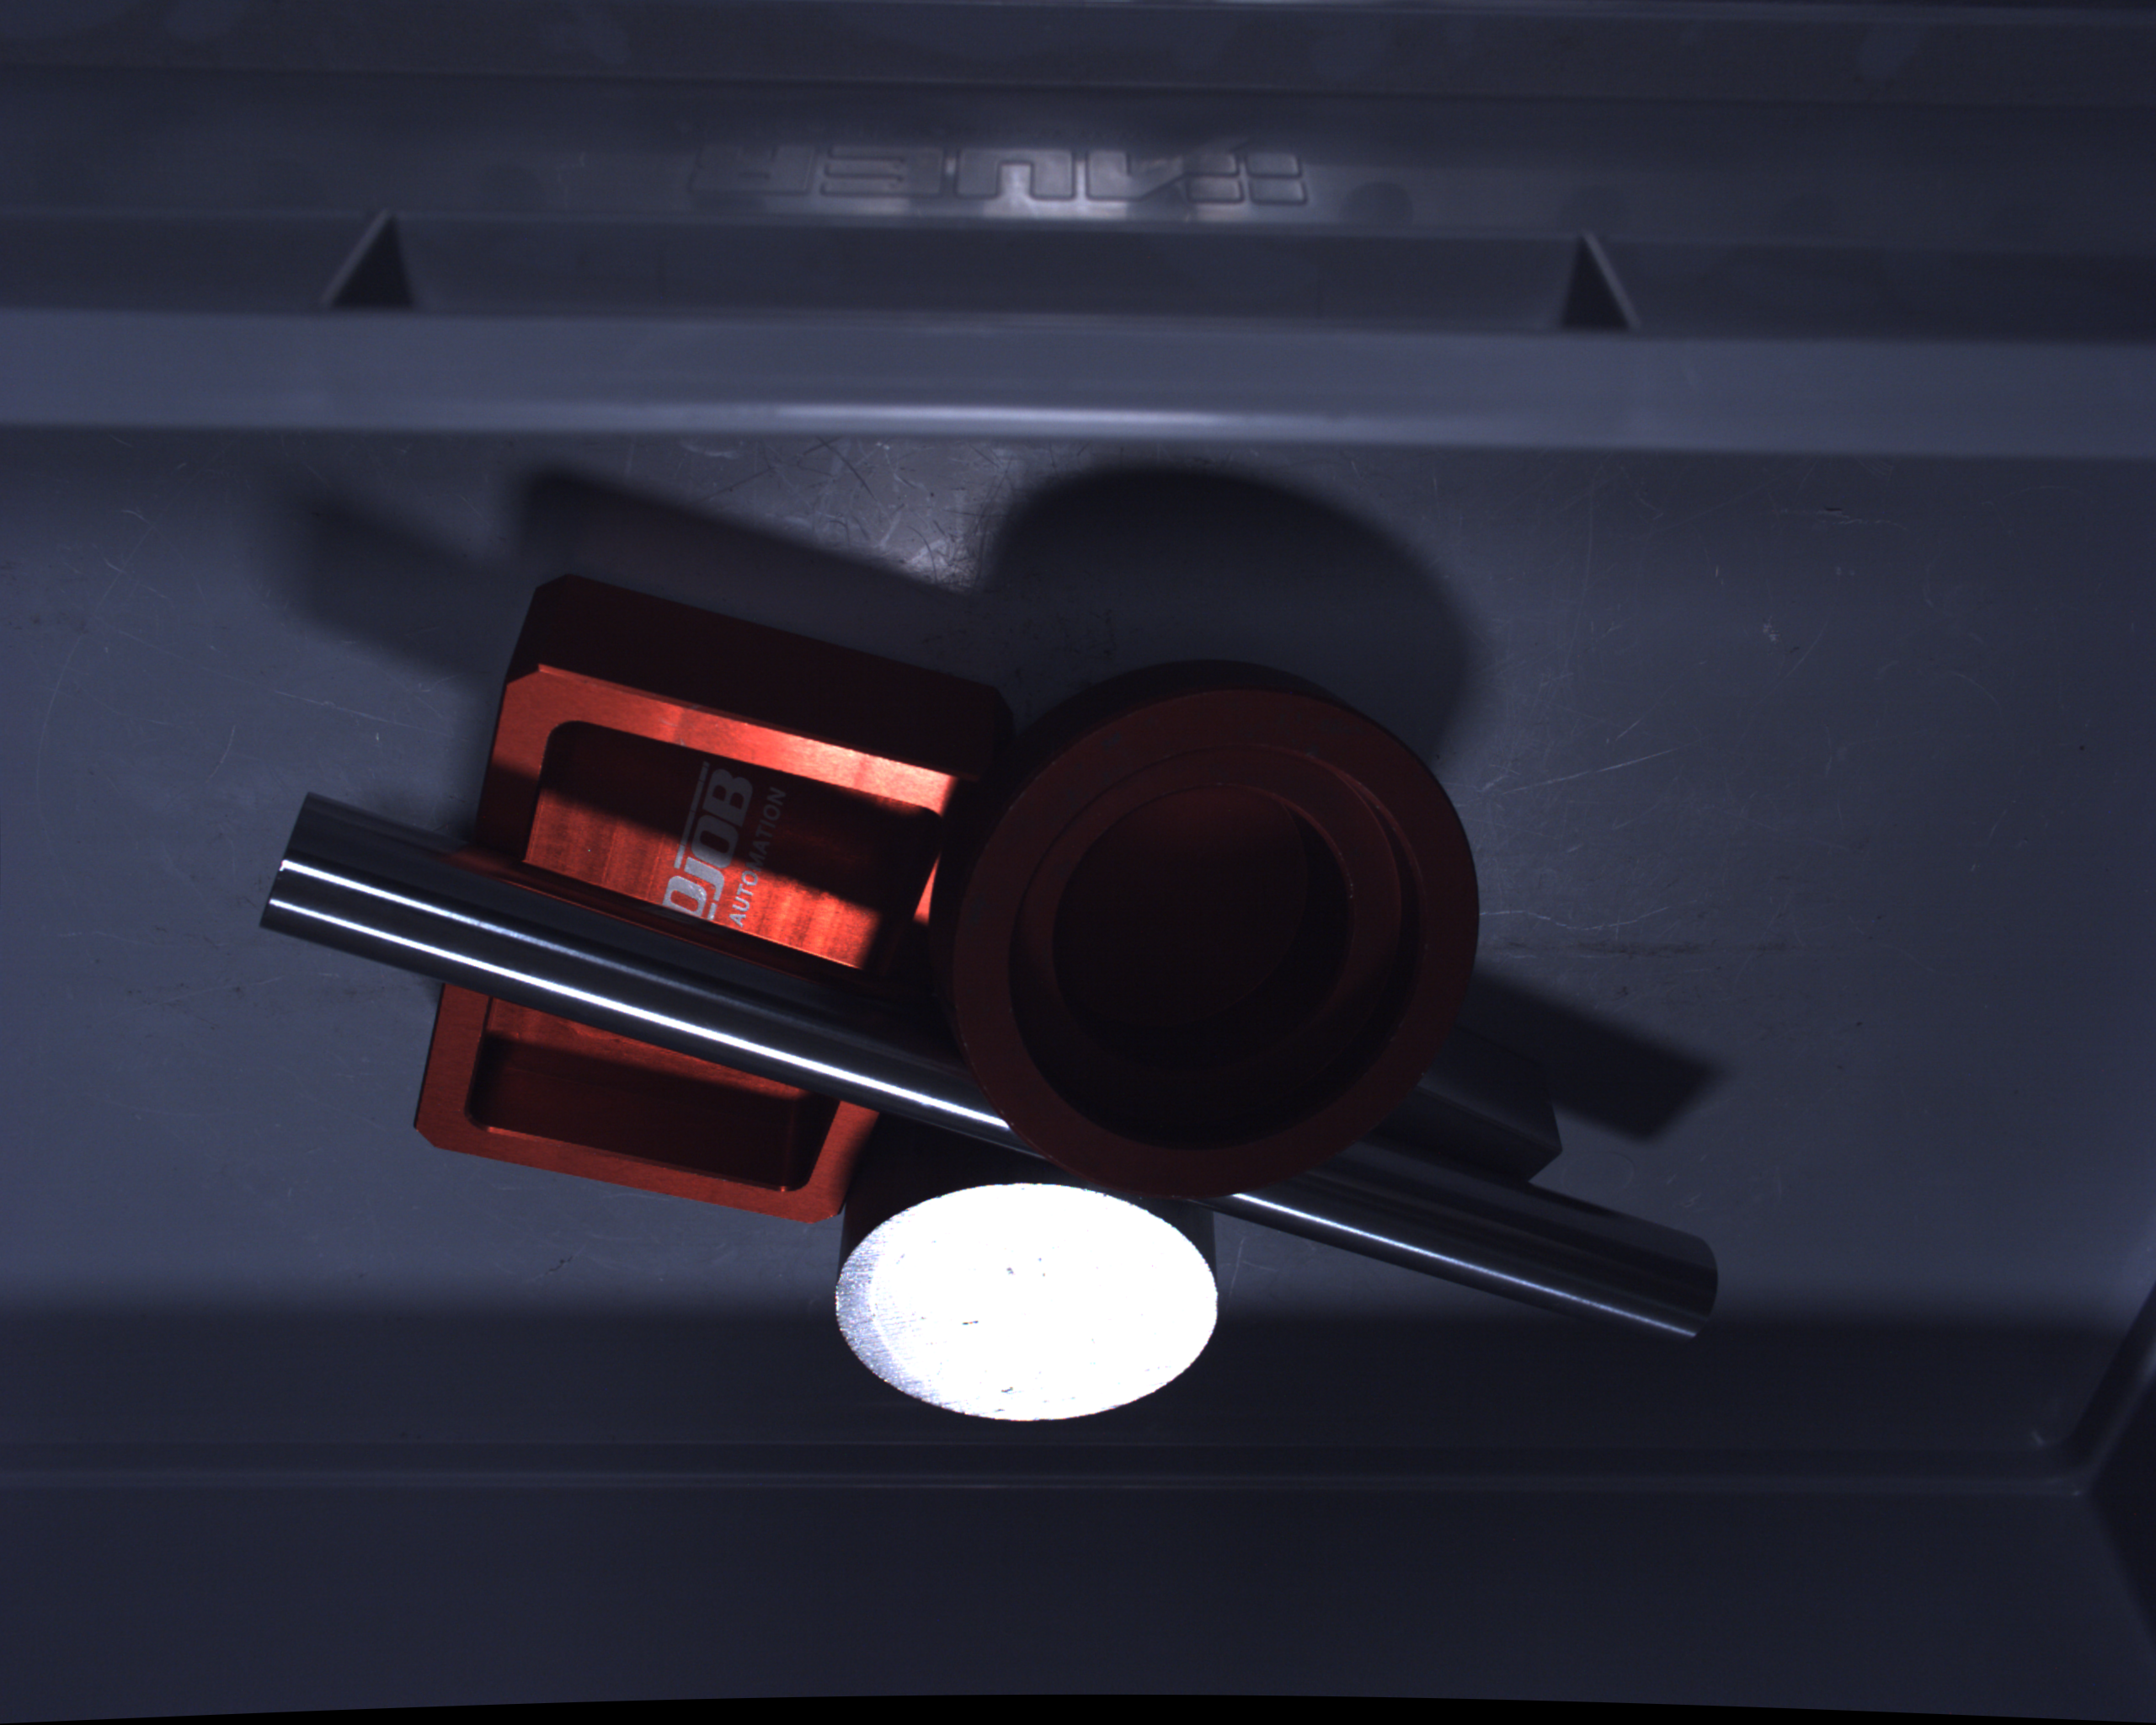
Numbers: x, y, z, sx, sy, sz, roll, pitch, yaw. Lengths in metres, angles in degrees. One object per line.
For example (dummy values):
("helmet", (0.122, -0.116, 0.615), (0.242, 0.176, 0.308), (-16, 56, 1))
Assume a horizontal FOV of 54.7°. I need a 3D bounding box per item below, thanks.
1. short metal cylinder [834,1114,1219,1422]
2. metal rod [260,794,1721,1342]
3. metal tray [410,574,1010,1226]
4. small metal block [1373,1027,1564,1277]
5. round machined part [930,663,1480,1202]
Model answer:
("short metal cylinder", (-0.011, 0.078, 0.456), (0.081, 0.050, 0.079), (0, 130, 0))
("metal rod", (-0.002, 0.046, 0.409), (0.302, 0.025, 0.025), (19, 128, -19))
("metal tray", (-0.075, 0.013, 0.413), (0.091, 0.030, 0.129), (14, 129, -13))
("small metal block", (0.069, 0.060, 0.459), (0.050, 0.025, 0.050), (25, 126, -20))
("round machined part", (0.021, 0.010, 0.389), (0.099, 0.042, 0.097), (-4, 109, -13))
